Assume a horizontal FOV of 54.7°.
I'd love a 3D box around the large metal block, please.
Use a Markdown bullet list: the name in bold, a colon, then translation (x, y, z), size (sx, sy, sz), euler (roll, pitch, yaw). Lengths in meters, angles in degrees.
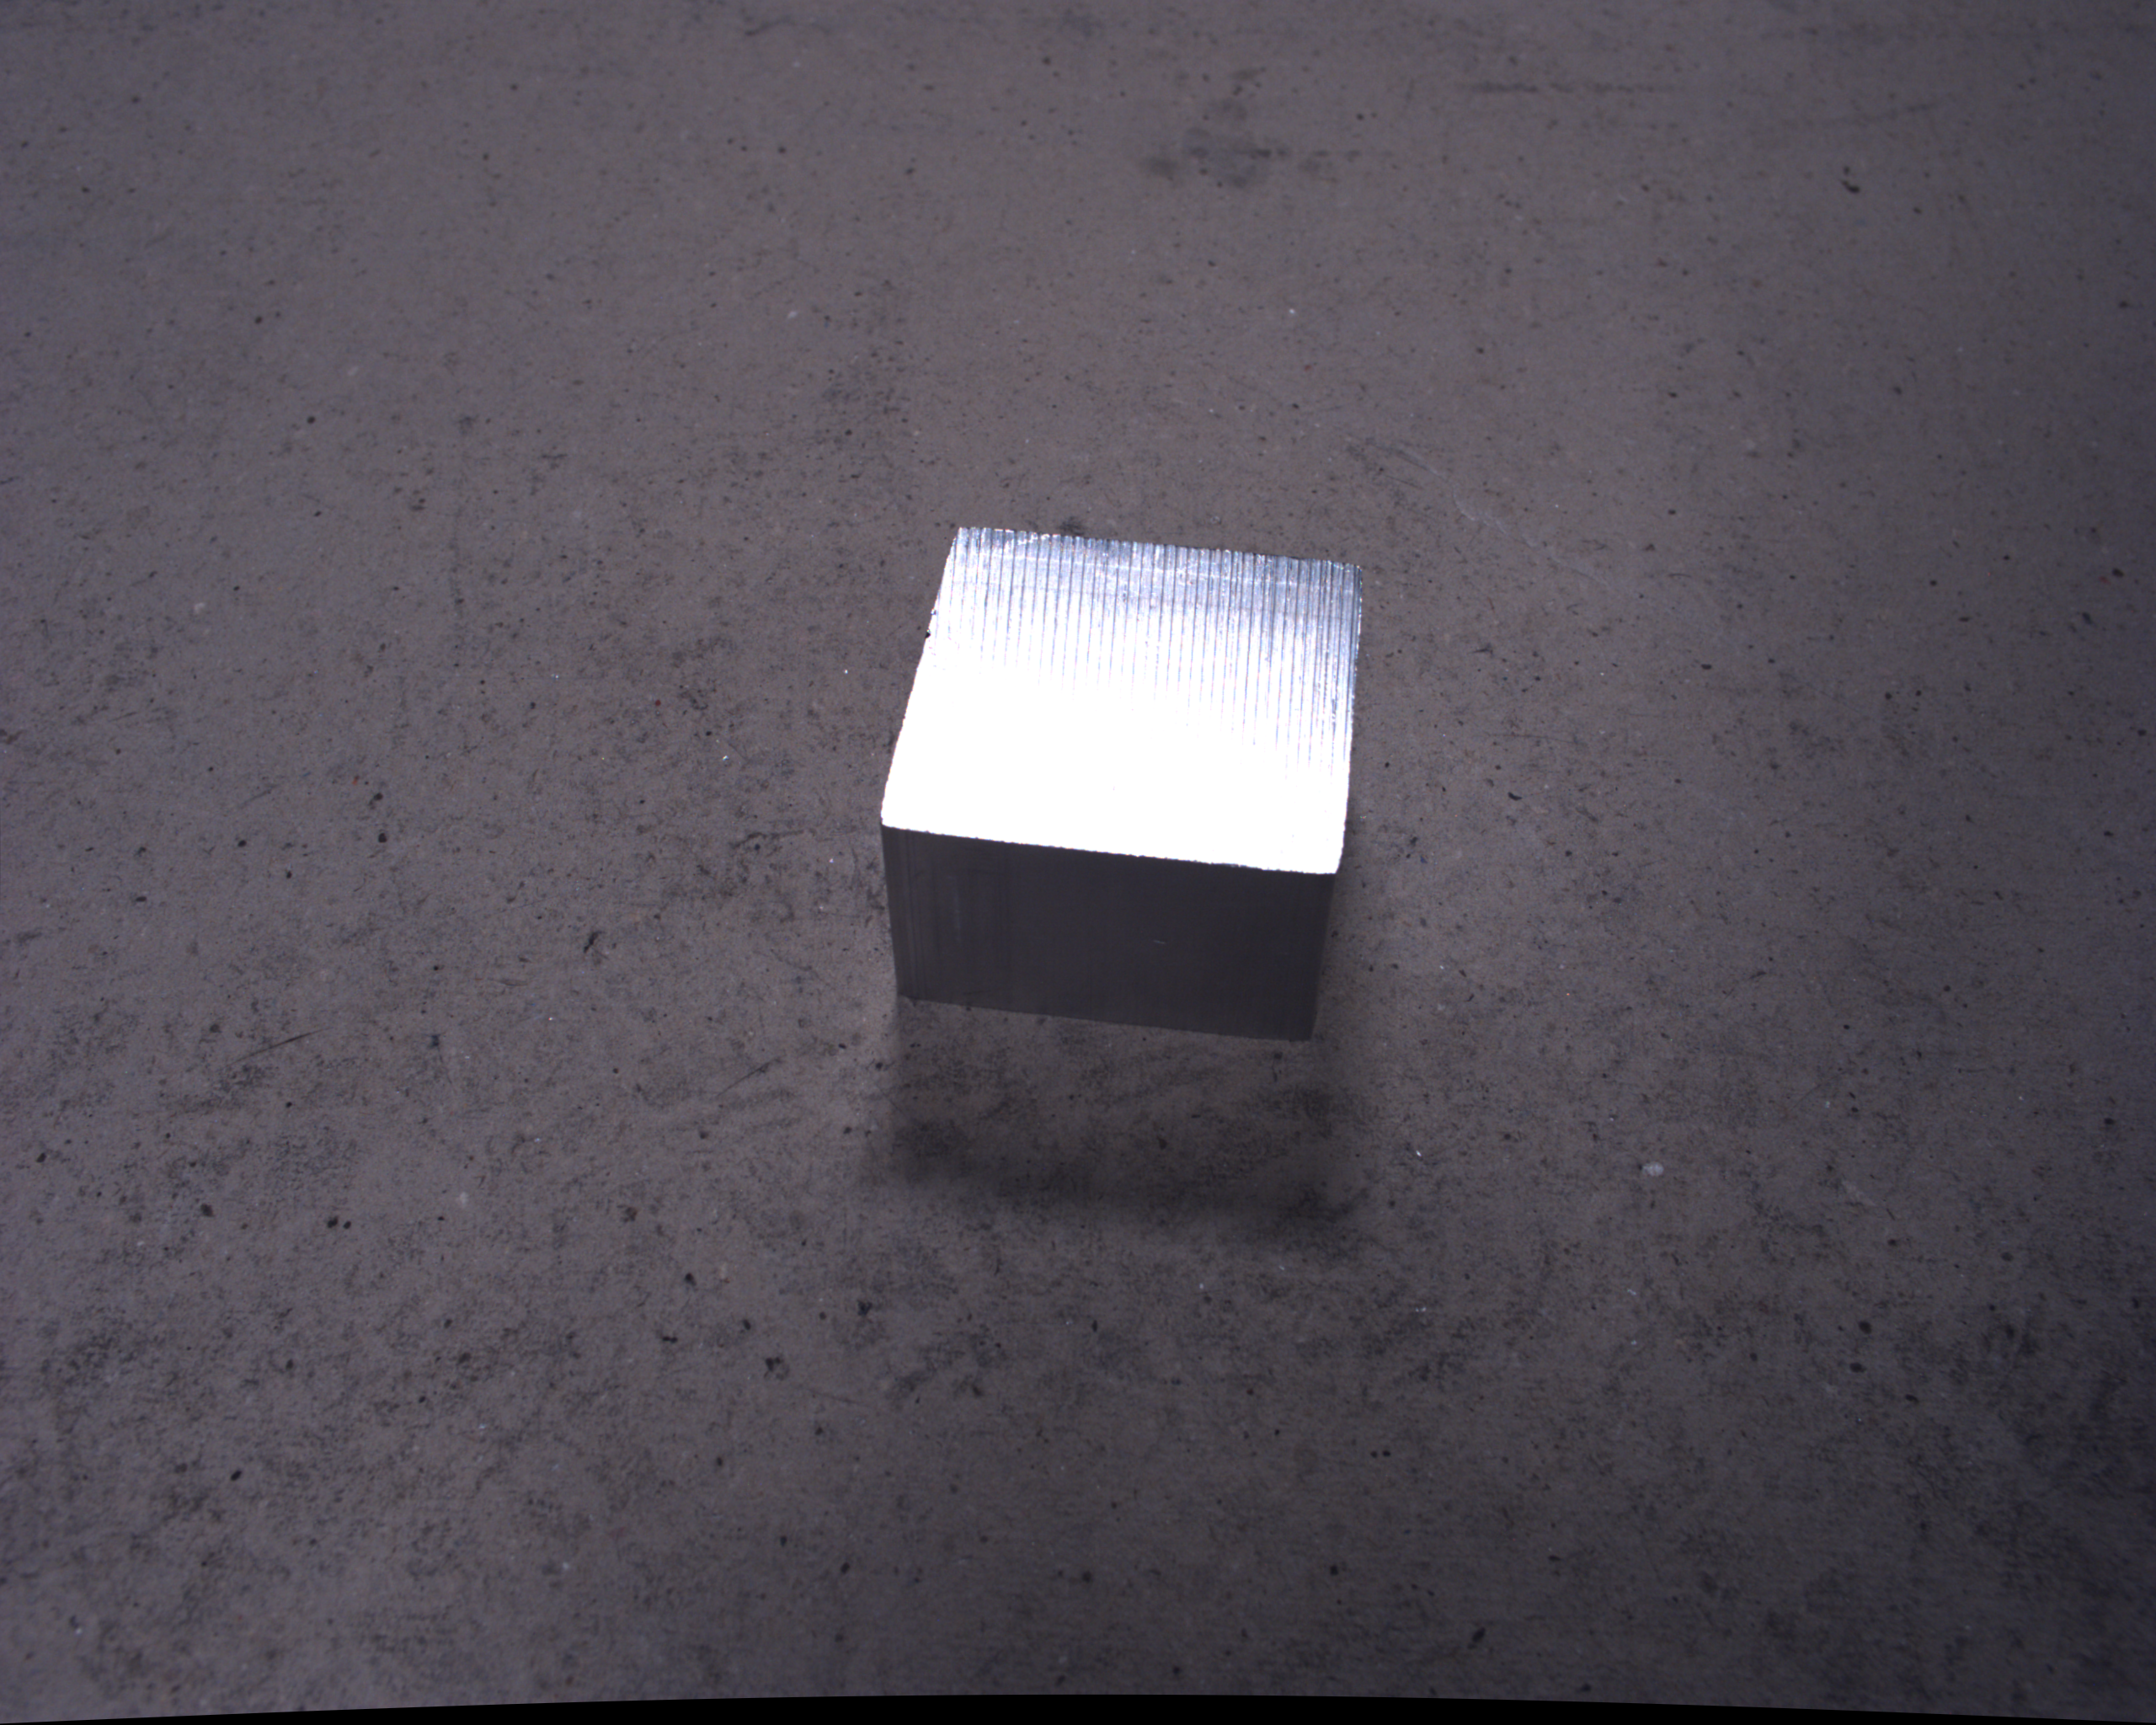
- **large metal block**: translation (0.010, -0.016, 0.402), size (0.080, 0.050, 0.080), euler (6, 50, 4)
